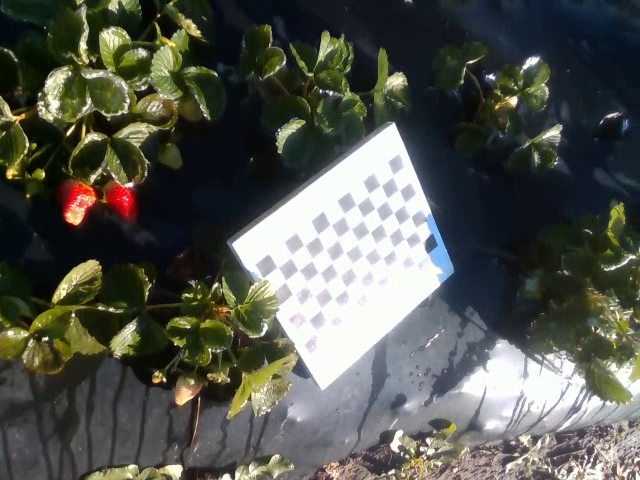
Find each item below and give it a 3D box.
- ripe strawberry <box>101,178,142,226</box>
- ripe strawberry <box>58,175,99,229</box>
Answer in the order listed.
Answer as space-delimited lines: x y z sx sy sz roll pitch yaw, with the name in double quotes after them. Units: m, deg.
-0.265 -0.054 0.823 0.043 0.059 0.040 -37 24 -17 "ripe strawberry"
-0.316 -0.046 0.806 0.052 0.070 0.040 11 0 -39 "ripe strawberry"
